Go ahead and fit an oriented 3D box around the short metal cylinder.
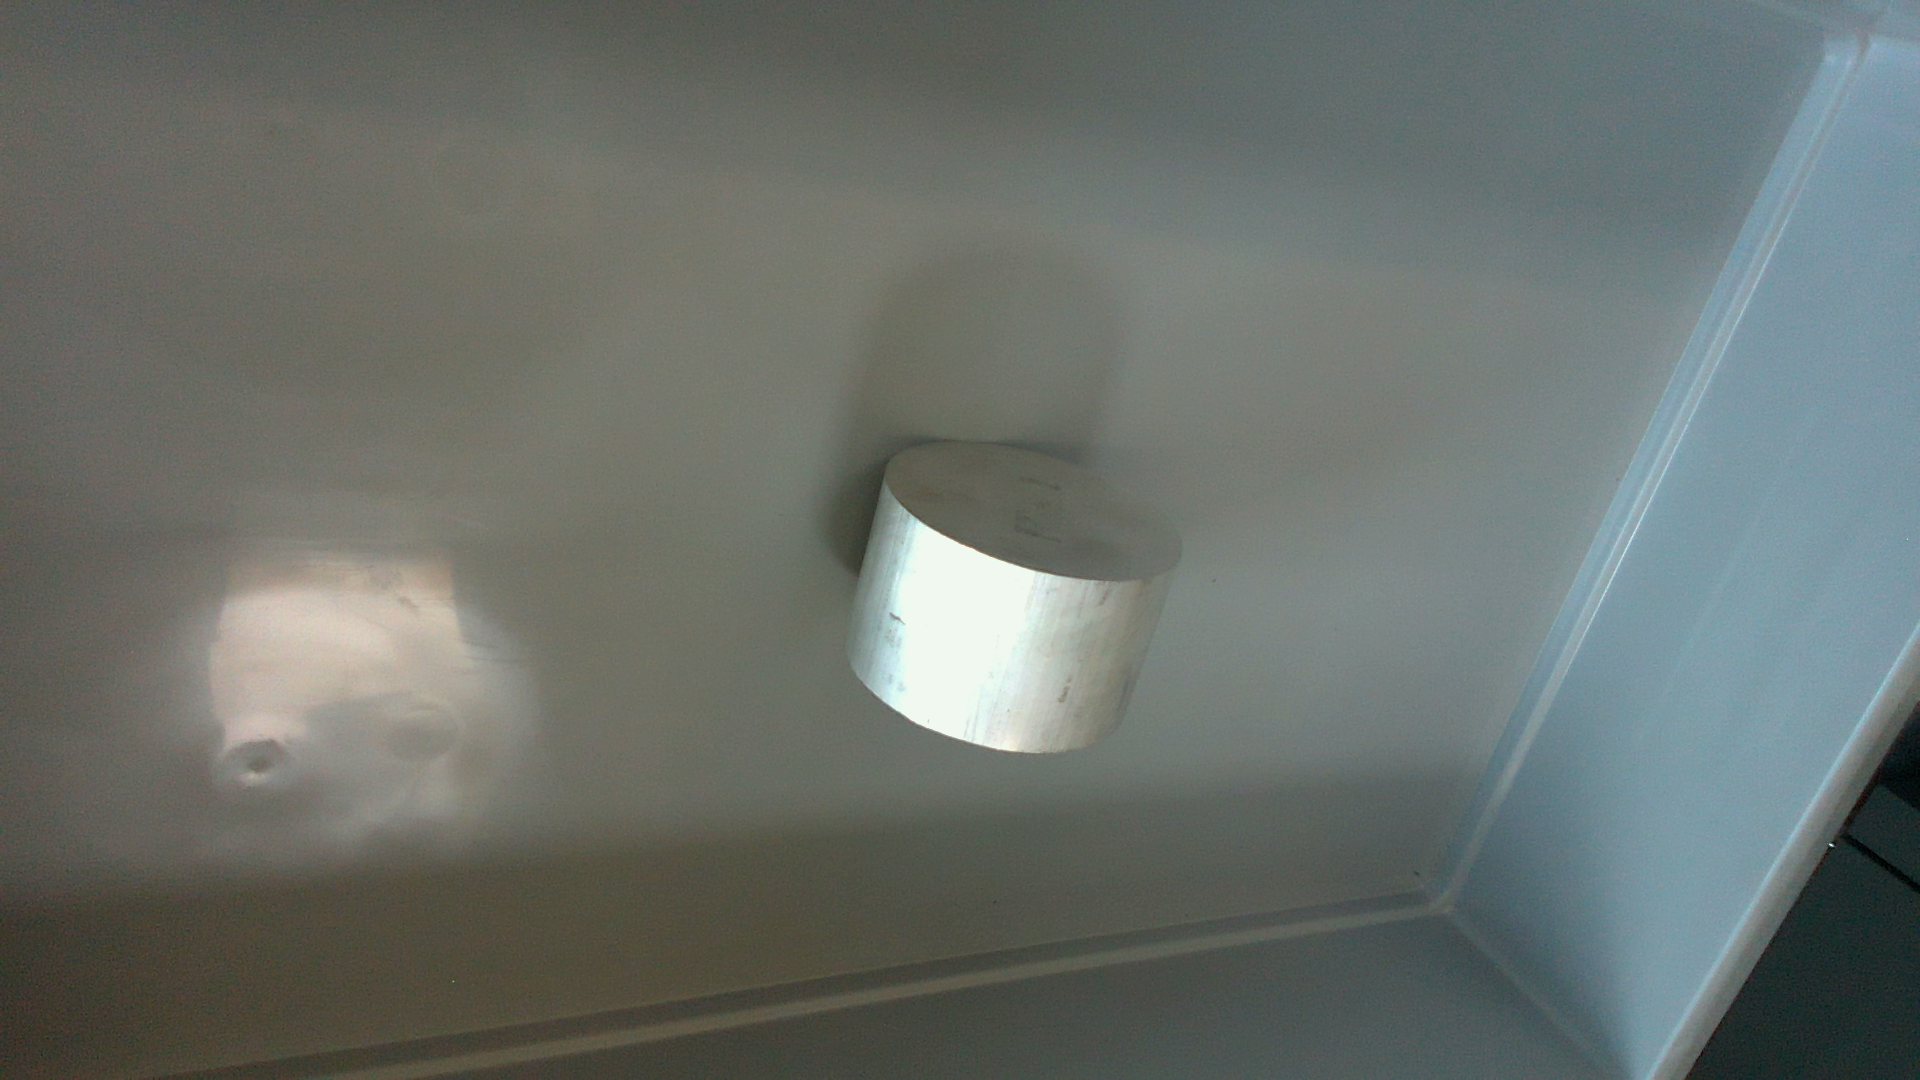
[{"bbox_3d":[0.013,0.013,0.366,0.080,0.080,0.050,2,118,-29],"label":"short metal cylinder"}]
